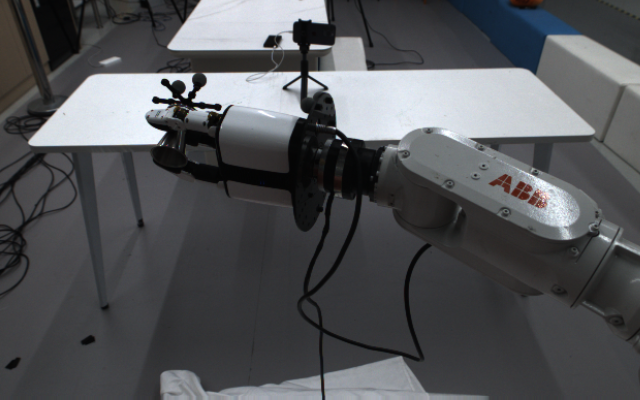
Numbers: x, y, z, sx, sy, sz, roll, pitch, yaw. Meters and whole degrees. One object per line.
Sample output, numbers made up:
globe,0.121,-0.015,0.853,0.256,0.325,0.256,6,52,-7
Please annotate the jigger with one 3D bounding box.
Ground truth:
jigger,-0.179,-0.080,0.595,0.043,0.043,0.071,6,60,6
